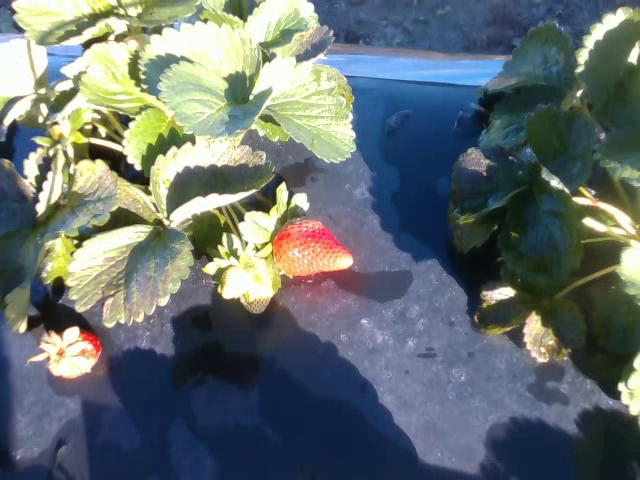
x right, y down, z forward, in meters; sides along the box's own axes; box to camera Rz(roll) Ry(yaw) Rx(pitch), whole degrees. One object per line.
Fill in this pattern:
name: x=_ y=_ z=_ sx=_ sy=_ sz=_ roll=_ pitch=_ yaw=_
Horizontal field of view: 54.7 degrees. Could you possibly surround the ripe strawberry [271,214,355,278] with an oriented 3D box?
ripe strawberry: x=-0.002 y=0.007 z=0.408 sx=0.064 sy=0.050 sz=0.052 roll=15 pitch=9 yaw=27
